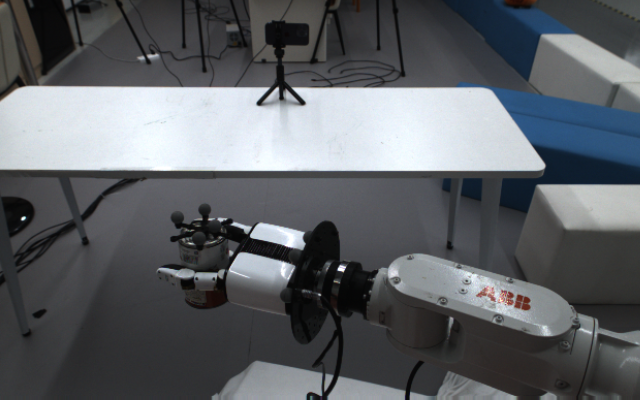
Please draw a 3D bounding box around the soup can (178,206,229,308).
[{"bbox_3d":[-0.157,0.092,0.671,0.067,0.101,0.067,1,25,0],"label":"soup can"}]
